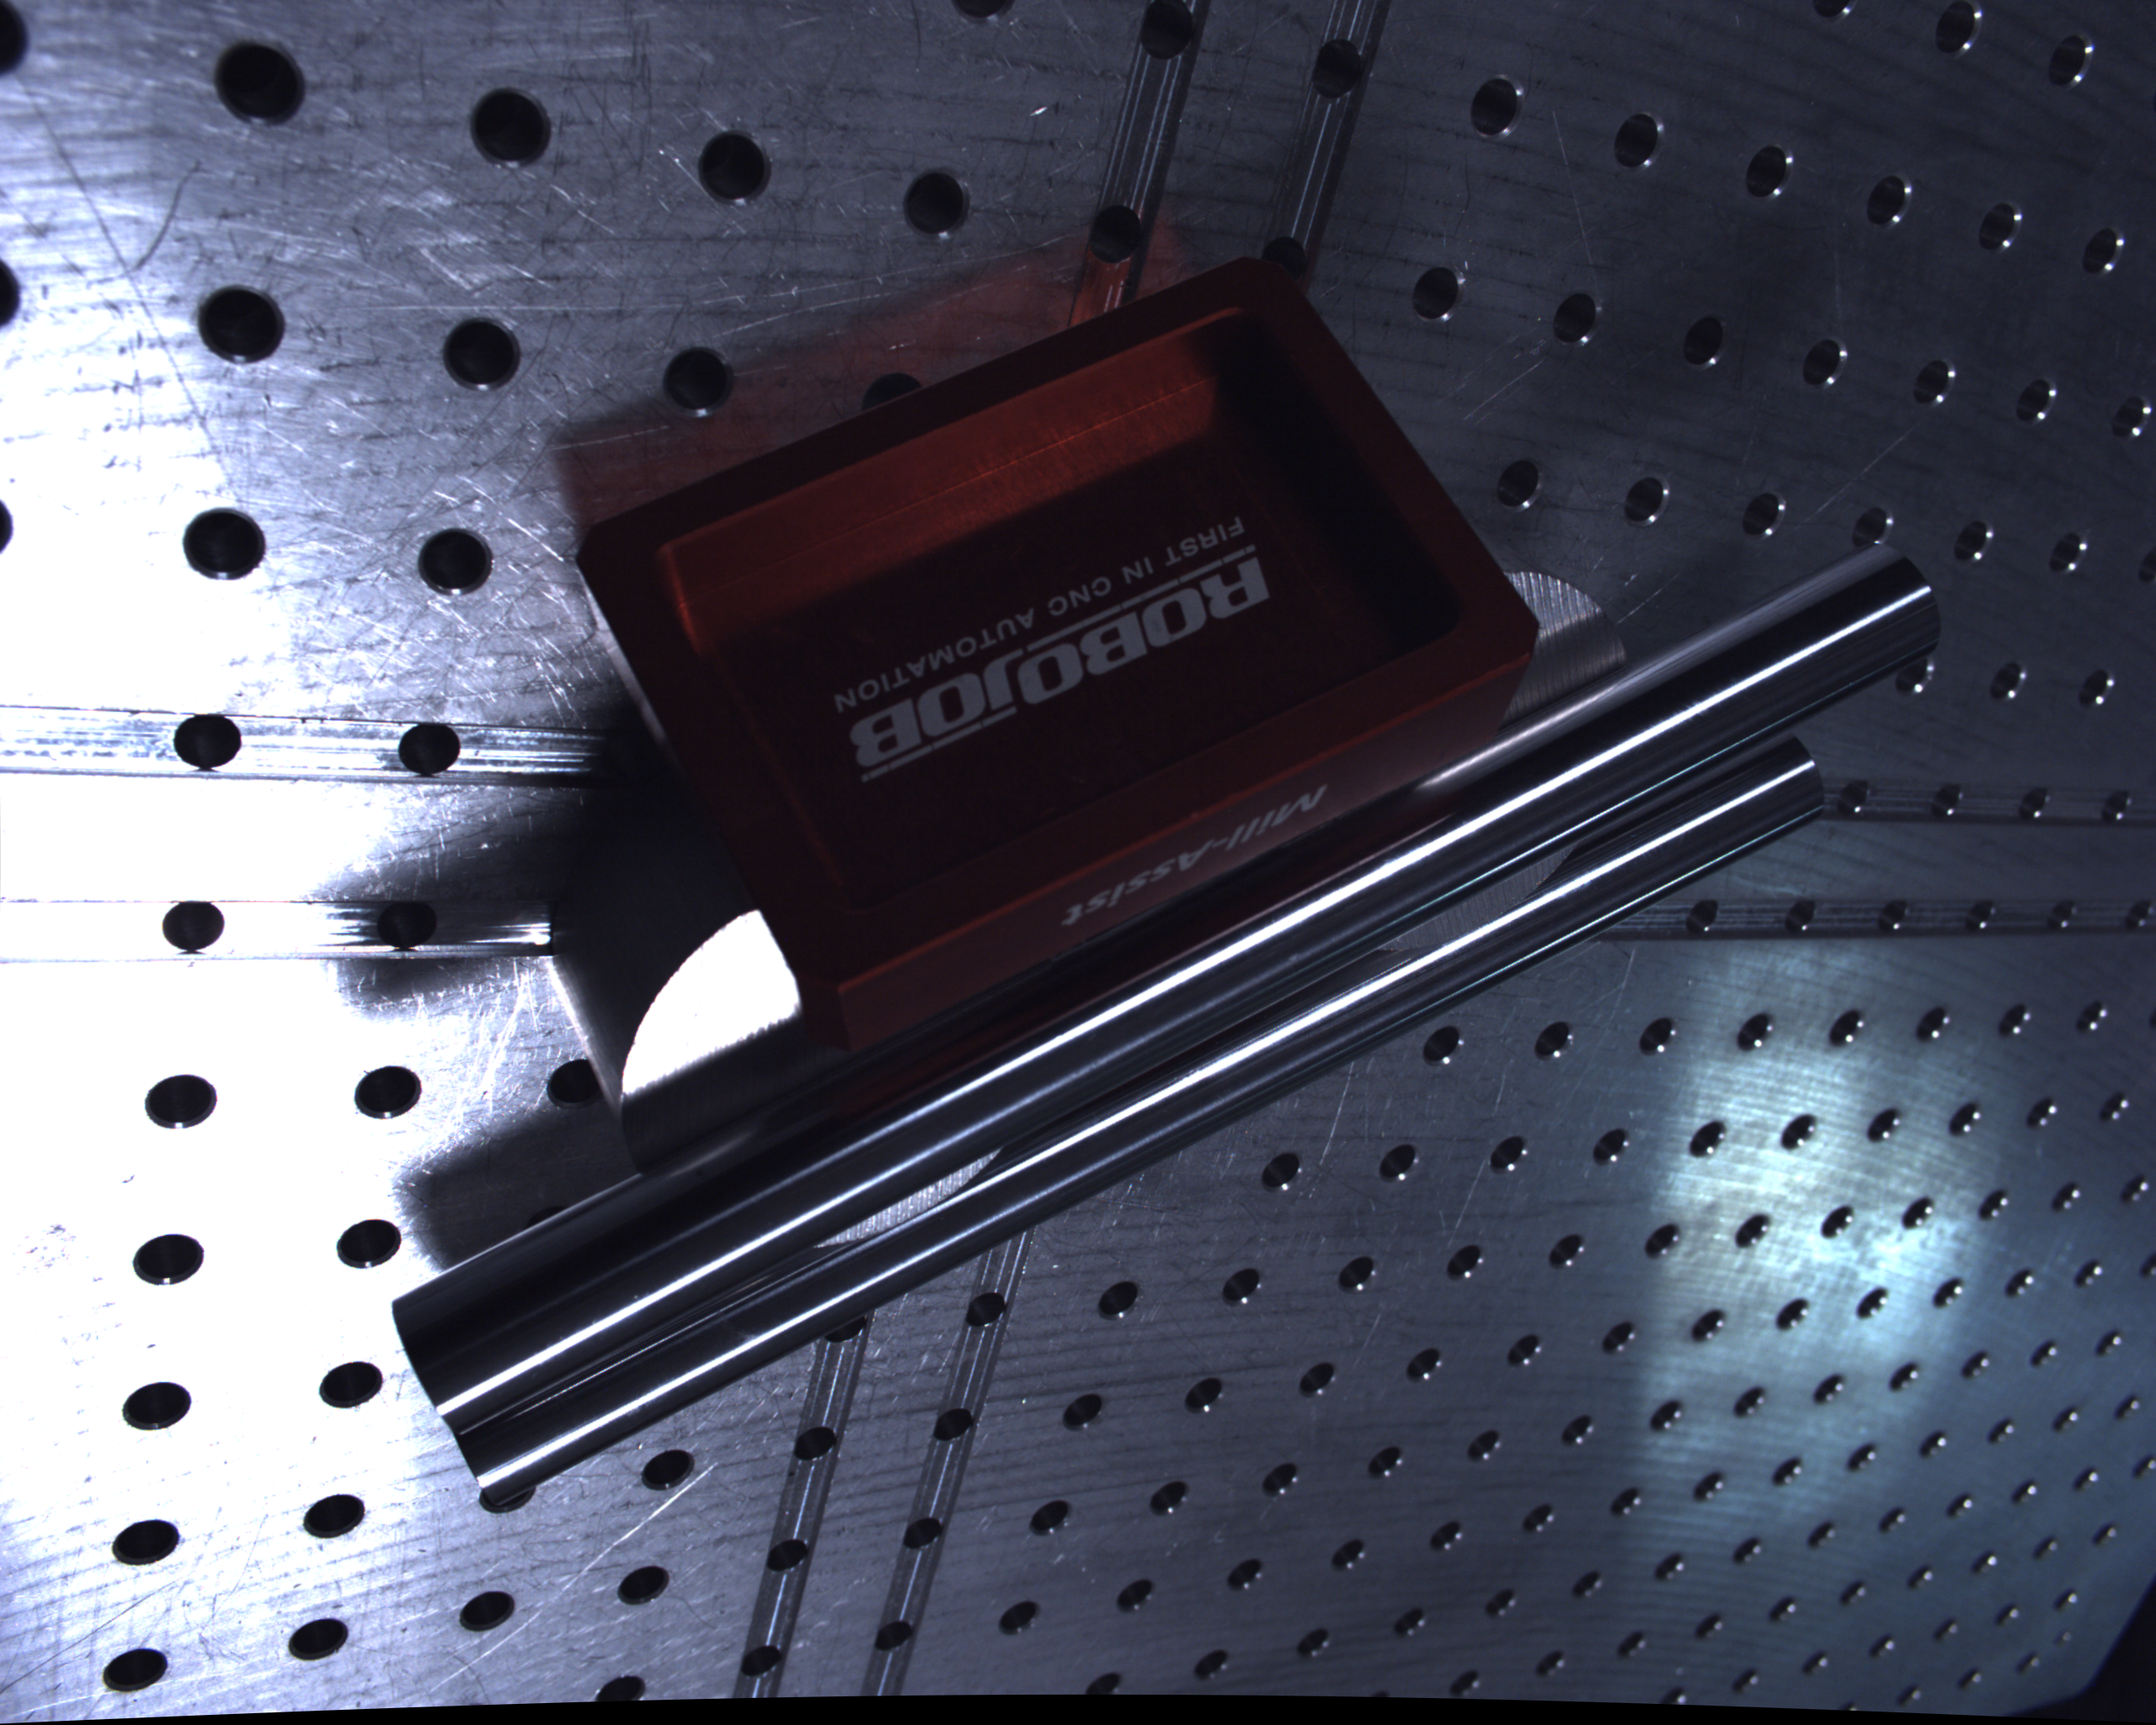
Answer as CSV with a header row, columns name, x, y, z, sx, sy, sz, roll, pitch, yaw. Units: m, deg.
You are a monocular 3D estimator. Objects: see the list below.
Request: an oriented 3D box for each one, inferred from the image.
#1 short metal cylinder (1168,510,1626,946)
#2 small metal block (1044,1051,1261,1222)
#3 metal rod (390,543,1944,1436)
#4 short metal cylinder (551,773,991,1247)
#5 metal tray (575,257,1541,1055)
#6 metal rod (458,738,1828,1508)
name,x,y,z,sx,sy,sz,roll,pitch,yaw
short metal cylinder,0.060,-0.030,0.412,0.081,0.050,0.079,-14,125,-21
small metal block,0.013,0.047,0.448,0.050,0.025,0.050,16,110,-35
metal rod,0.026,0.016,0.371,0.302,0.025,0.025,-27,128,-12
short metal cylinder,-0.051,0.024,0.383,0.081,0.050,0.079,-14,125,-21
metal tray,-0.003,-0.037,0.344,0.131,0.090,0.030,-26,160,-13
metal rod,0.021,0.044,0.418,0.302,0.025,0.025,-26,128,-13
